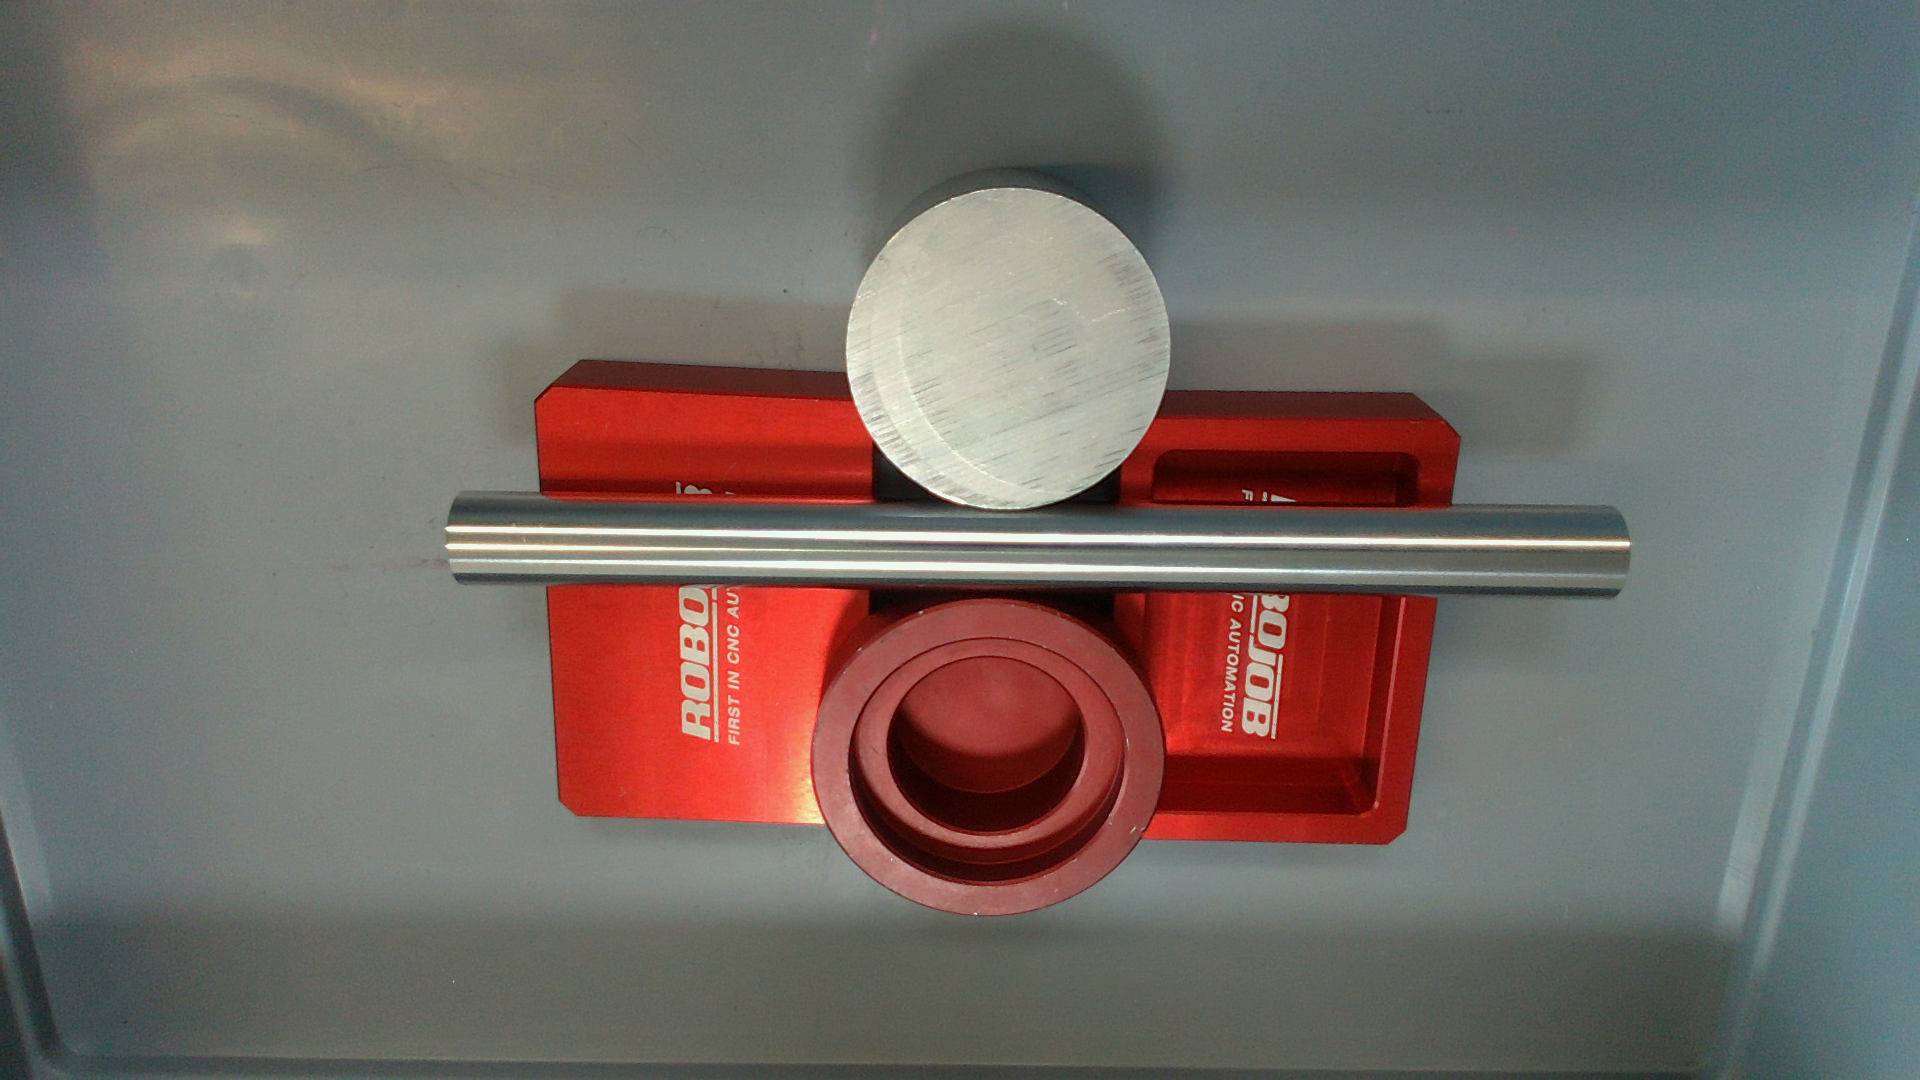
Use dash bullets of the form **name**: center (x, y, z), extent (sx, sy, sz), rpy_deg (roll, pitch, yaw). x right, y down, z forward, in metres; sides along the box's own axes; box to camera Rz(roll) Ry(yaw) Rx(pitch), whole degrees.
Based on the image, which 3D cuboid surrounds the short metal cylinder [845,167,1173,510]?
- **short metal cylinder**: center (0.012, -0.054, 0.359), extent (0.080, 0.050, 0.080), rpy_deg (0, 110, 0)

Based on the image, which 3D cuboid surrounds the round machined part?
- **round machined part**: center (0.008, 0.055, 0.394), extent (0.098, 0.042, 0.098), rpy_deg (0, 110, 0)

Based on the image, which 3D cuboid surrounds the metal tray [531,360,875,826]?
- **metal tray**: center (-0.070, 0.017, 0.395), extent (0.090, 0.030, 0.130), rpy_deg (2, 110, -1)

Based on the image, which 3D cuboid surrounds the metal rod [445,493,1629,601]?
- **metal rod**: center (0.020, 0.002, 0.361), extent (0.300, 0.025, 0.025), rpy_deg (1, 110, -1)

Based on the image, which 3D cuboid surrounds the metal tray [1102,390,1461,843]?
- **metal tray**: center (0.087, 0.024, 0.399), extent (0.090, 0.030, 0.130), rpy_deg (1, 110, 0)
